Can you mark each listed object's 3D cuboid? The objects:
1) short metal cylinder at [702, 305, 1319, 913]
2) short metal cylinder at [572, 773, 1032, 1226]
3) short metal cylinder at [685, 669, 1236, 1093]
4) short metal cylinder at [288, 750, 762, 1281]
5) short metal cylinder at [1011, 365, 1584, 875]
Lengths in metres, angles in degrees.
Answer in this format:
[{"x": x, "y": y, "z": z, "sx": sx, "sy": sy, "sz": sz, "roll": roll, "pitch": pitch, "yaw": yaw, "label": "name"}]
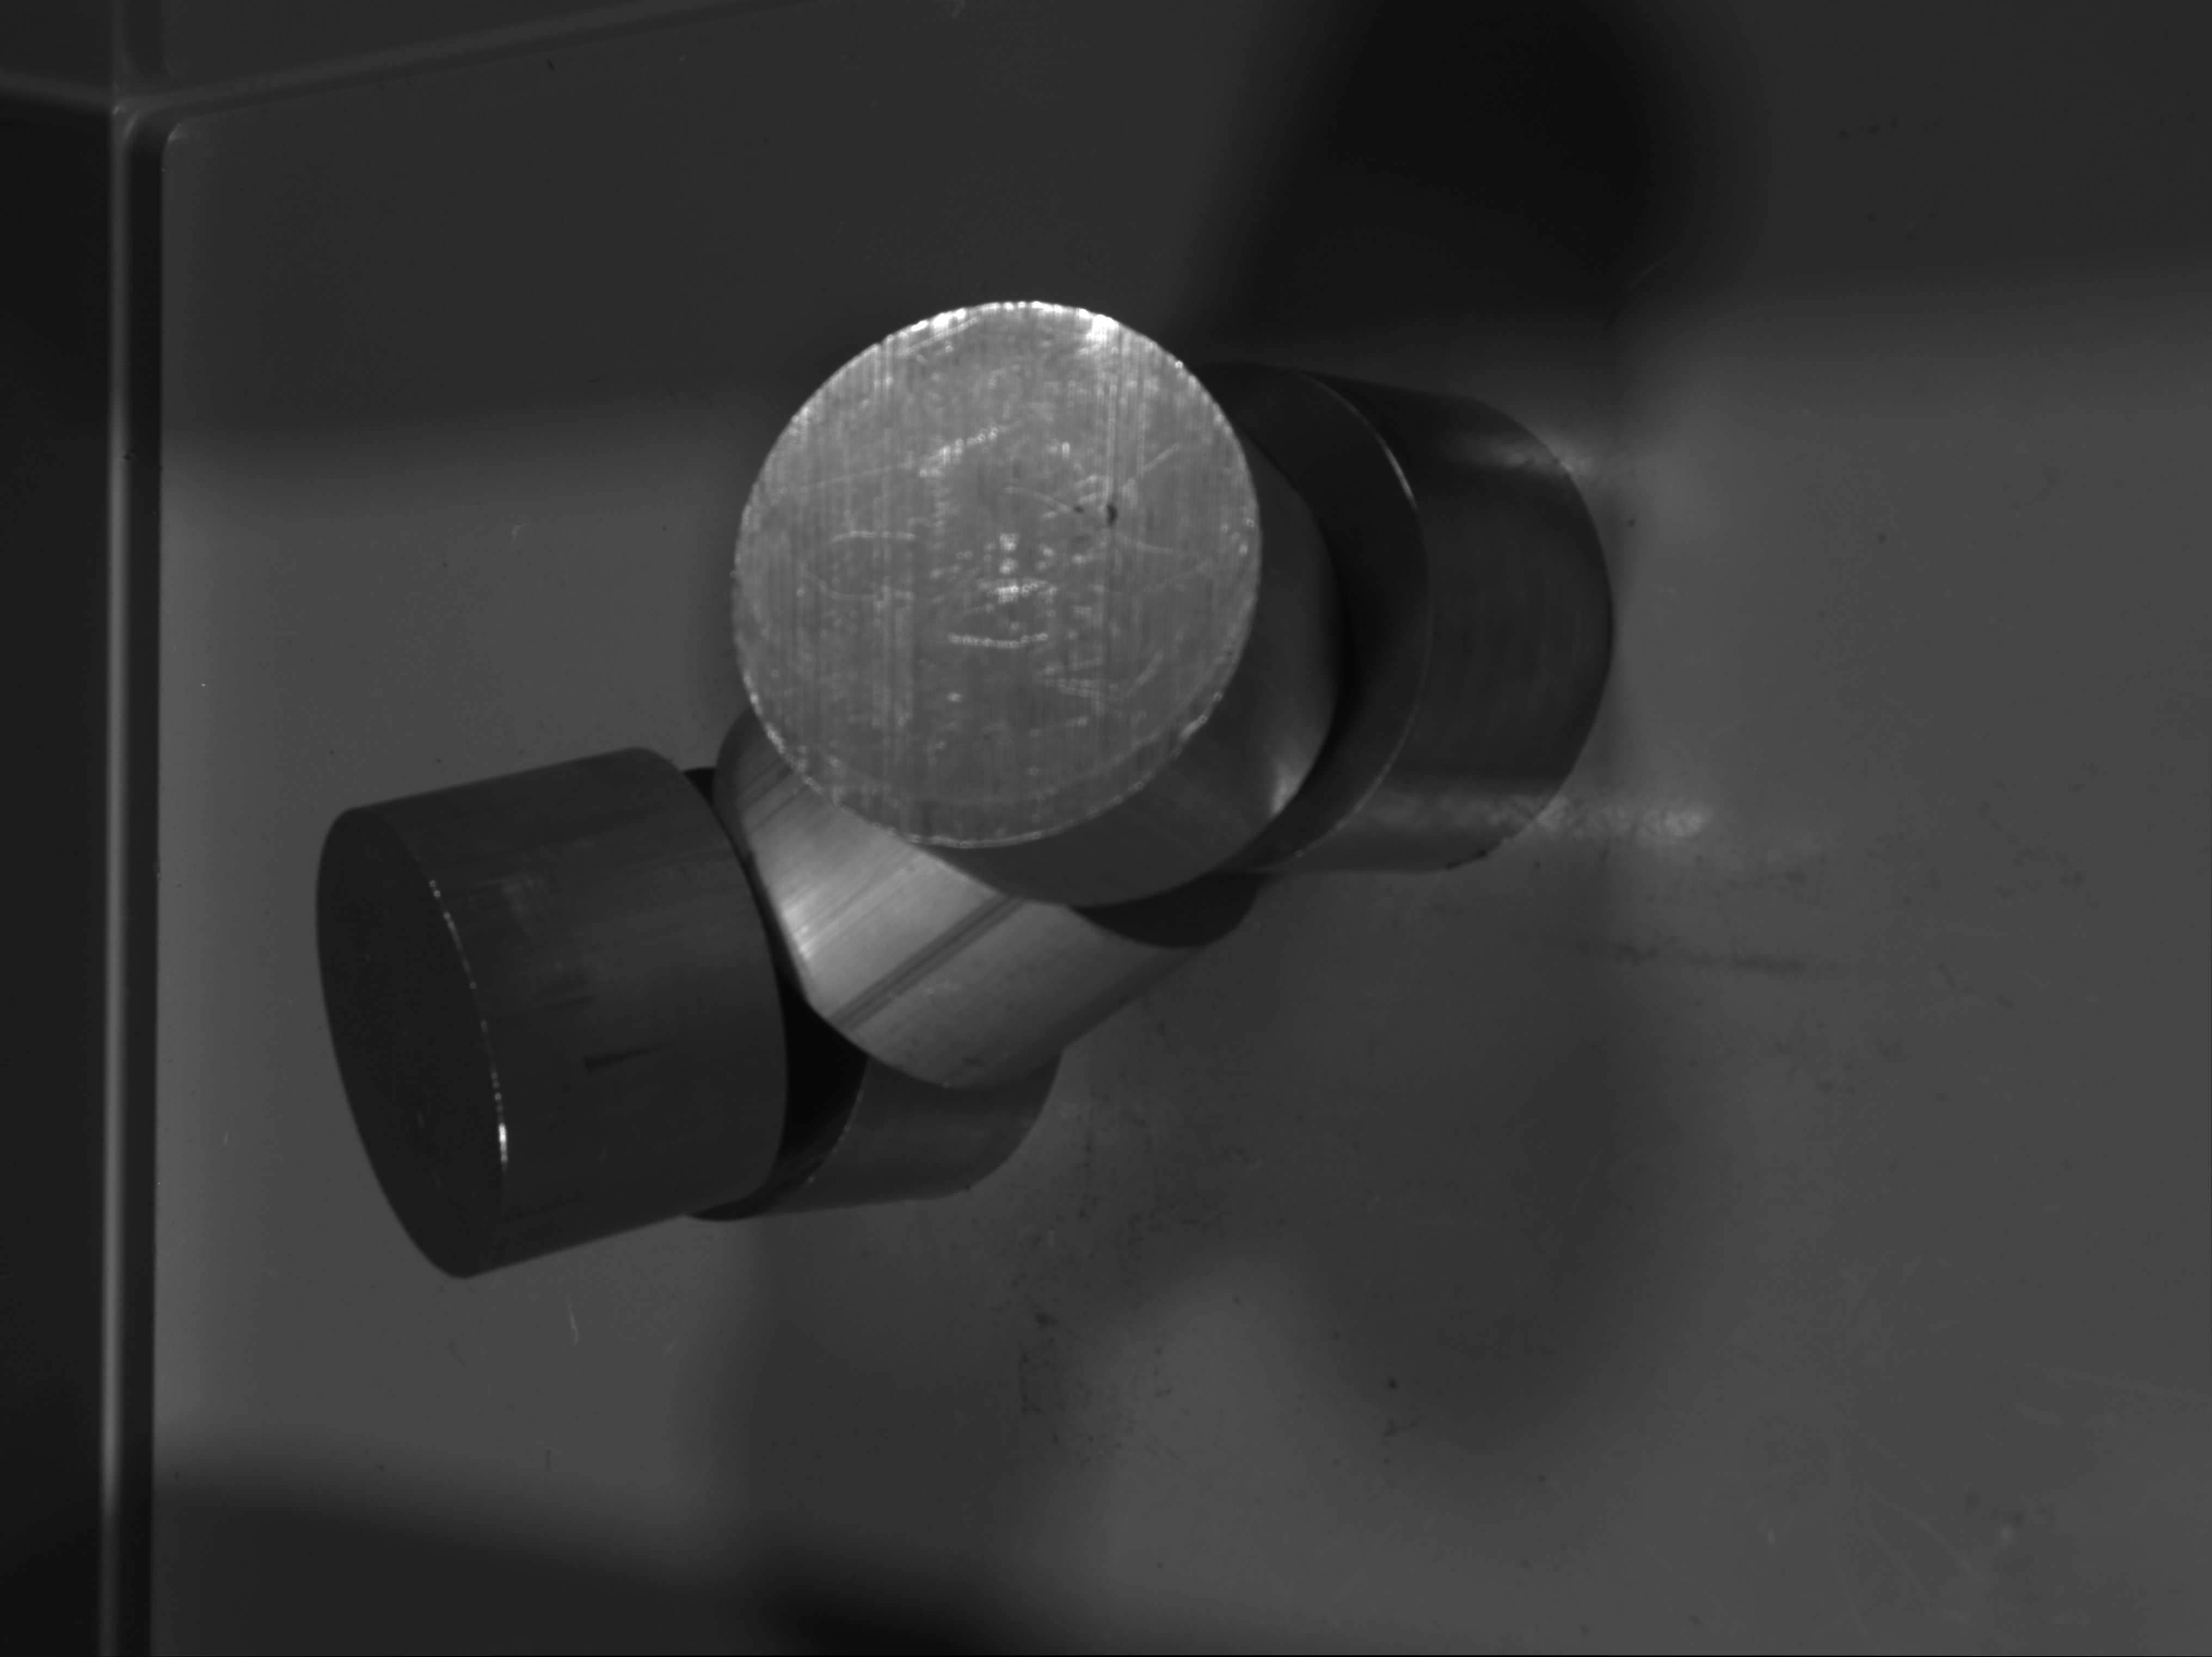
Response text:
[{"x": -0.013, "y": -0.031, "z": 0.545, "sx": 0.080, "sy": 0.050, "sz": 0.080, "roll": -4, "pitch": 77, "yaw": 17, "label": "short metal cylinder"}, {"x": -0.059, "y": 0.030, "z": 0.666, "sx": 0.080, "sy": 0.050, "sz": 0.080, "roll": 0, "pitch": 90, "yaw": 39, "label": "short metal cylinder"}, {"x": -0.024, "y": -0.002, "z": 0.619, "sx": 0.050, "sy": 0.080, "sz": 0.080, "roll": -36, "pitch": 68, "yaw": 33, "label": "short metal cylinder"}, {"x": -0.099, "y": 0.031, "z": 0.616, "sx": 0.080, "sy": 0.050, "sz": 0.080, "roll": 31, "pitch": 128, "yaw": 51, "label": "short metal cylinder"}, {"x": 0.030, "y": -0.033, "z": 0.594, "sx": 0.080, "sy": 0.050, "sz": 0.080, "roll": 0, "pitch": 90, "yaw": 39, "label": "short metal cylinder"}]
